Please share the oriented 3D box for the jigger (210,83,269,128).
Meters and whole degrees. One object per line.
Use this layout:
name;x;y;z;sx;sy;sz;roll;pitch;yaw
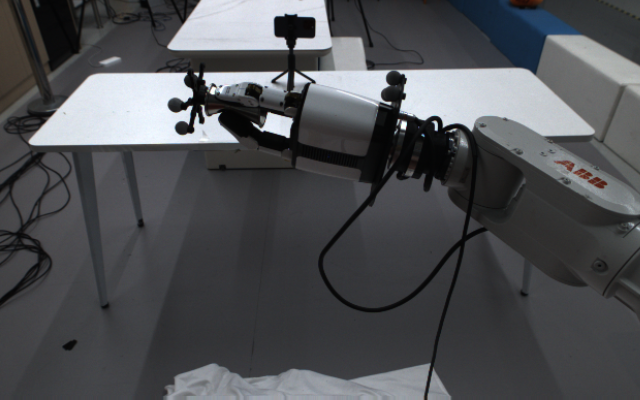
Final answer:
jigger;-0.094;-0.119;0.587;0.071;0.043;0.043;10;35;3
